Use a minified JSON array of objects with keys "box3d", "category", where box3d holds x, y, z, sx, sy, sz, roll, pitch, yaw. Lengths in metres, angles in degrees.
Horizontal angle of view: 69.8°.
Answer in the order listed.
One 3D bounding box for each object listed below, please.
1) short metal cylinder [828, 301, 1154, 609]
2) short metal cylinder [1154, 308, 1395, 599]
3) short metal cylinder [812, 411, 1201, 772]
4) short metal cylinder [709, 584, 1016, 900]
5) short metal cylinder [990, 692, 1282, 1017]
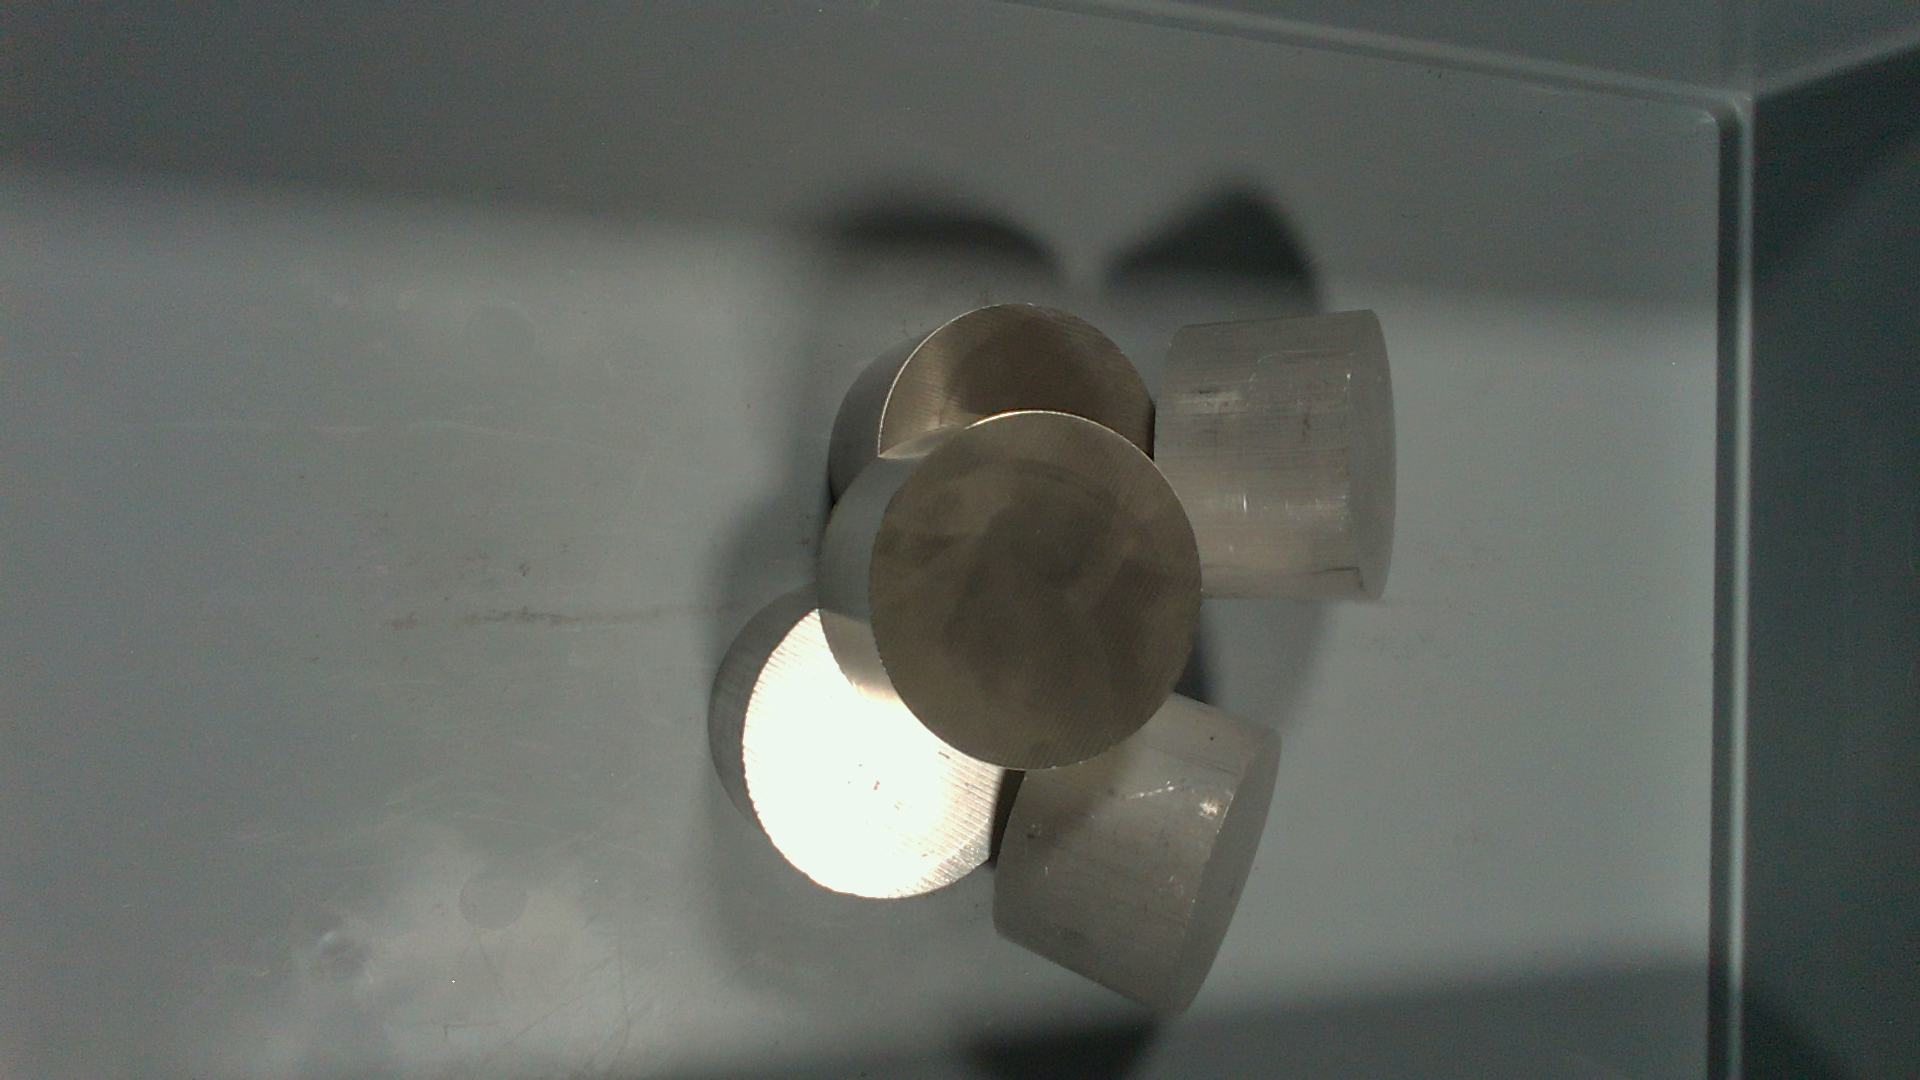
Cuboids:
[{"box3d":[0.009,-0.022,0.382,0.080,0.050,0.080,0,90,-20],"category":"short metal cylinder"},{"box3d":[0.092,-0.023,0.390,0.080,0.050,0.080,6,83,-64],"category":"short metal cylinder"},{"box3d":[0.010,0.011,0.328,0.080,0.050,0.080,0,90,-20],"category":"short metal cylinder"},{"box3d":[-0.024,0.051,0.371,0.080,0.050,0.080,0,90,-20],"category":"short metal cylinder"},{"box3d":[0.049,0.080,0.374,0.050,0.080,0.080,19,82,22],"category":"short metal cylinder"}]
